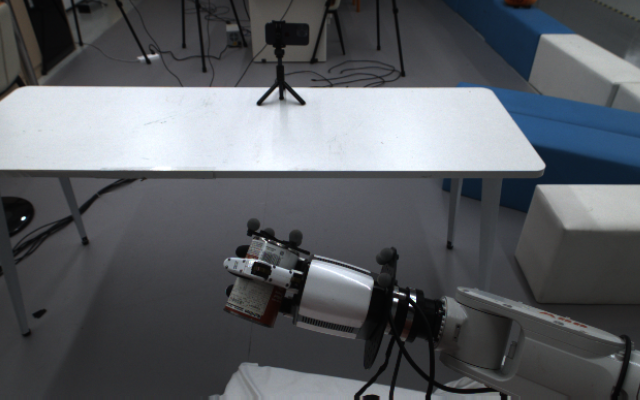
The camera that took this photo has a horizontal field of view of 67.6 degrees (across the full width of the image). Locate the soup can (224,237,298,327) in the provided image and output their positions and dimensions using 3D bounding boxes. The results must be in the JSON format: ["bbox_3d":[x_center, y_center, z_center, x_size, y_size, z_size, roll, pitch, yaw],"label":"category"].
[{"bbox_3d":[-0.073,0.107,0.627,0.067,0.067,0.101,16,75,19],"label":"soup can"}]
